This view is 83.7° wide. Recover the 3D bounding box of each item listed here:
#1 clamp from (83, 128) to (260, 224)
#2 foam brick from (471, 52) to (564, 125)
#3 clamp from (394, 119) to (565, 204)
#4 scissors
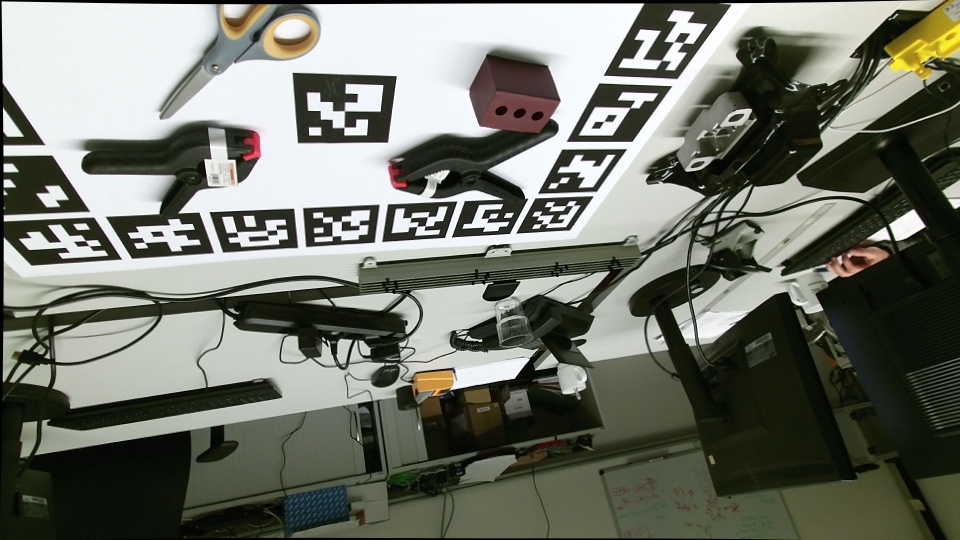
[{"bbox_3d":[-0.317,-0.110,0.588,0.165,0.036,0.122,-19,145,7],"label":"clamp"},{"bbox_3d":[0.041,-0.196,0.583,0.078,0.051,0.053,-5,150,-27],"label":"foam brick"},{"bbox_3d":[-0.008,-0.130,0.694,0.203,0.036,0.165,-6,154,-14],"label":"clamp"},{"bbox_3d":[-0.225,-0.192,0.487,0.203,0.016,0.088,-29,142,28],"label":"scissors"}]
